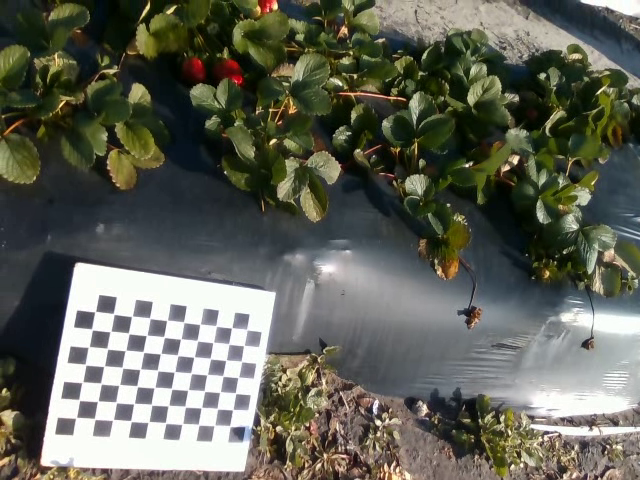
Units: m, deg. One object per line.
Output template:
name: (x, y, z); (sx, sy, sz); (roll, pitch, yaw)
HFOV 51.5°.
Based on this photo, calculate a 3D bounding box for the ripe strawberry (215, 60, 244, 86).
ripe strawberry: (-0.142, -0.259, 0.992); (0.052, 0.058, 0.046); (-27, -37, -15)

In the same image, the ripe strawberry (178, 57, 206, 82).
ripe strawberry: (-0.191, -0.258, 0.965); (0.043, 0.052, 0.037); (-36, -32, -13)
